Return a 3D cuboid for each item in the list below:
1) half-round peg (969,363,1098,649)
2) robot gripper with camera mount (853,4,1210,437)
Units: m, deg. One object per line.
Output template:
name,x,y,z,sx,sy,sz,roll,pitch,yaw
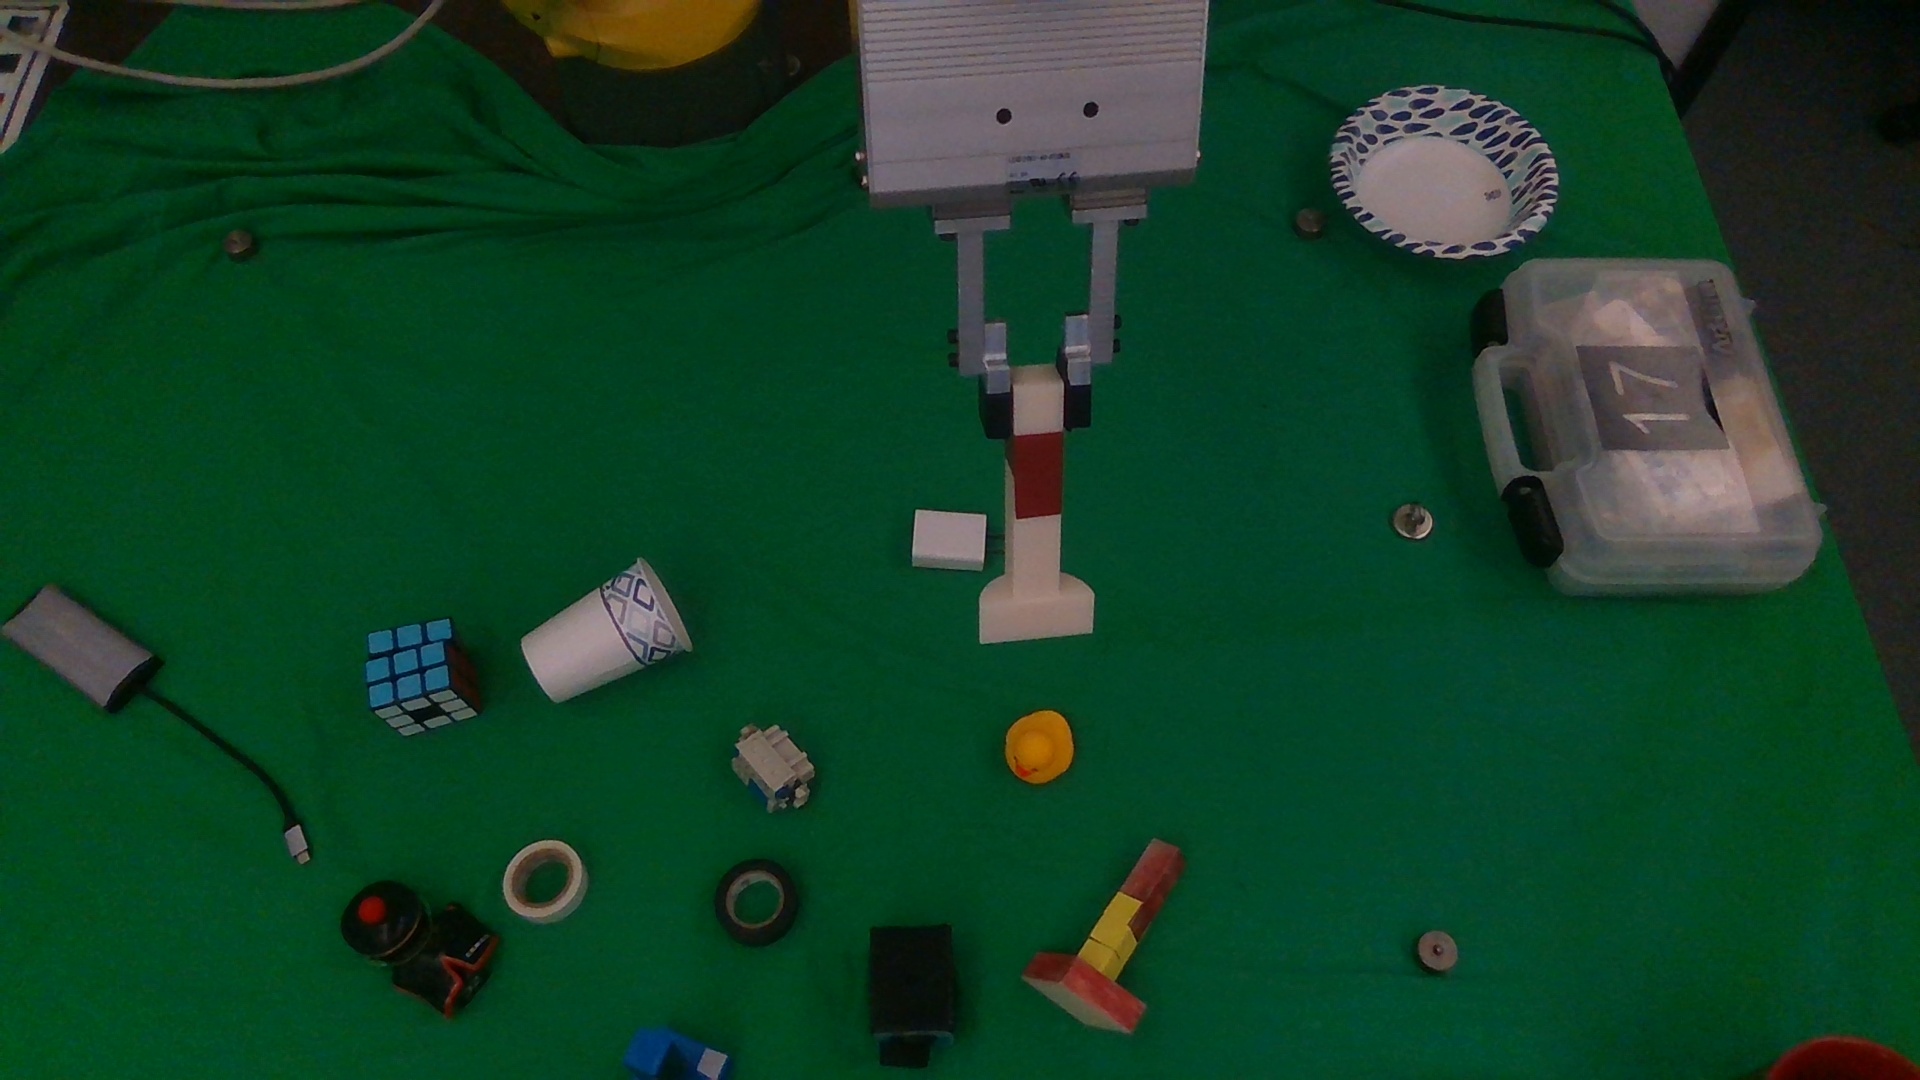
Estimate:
half-round peg,0.030,-0.013,0.568,0.054,0.122,0.031,-3,30,-5
robot gripper with camera mount,0.011,-0.154,0.576,0.119,0.158,0.193,-3,34,-7
